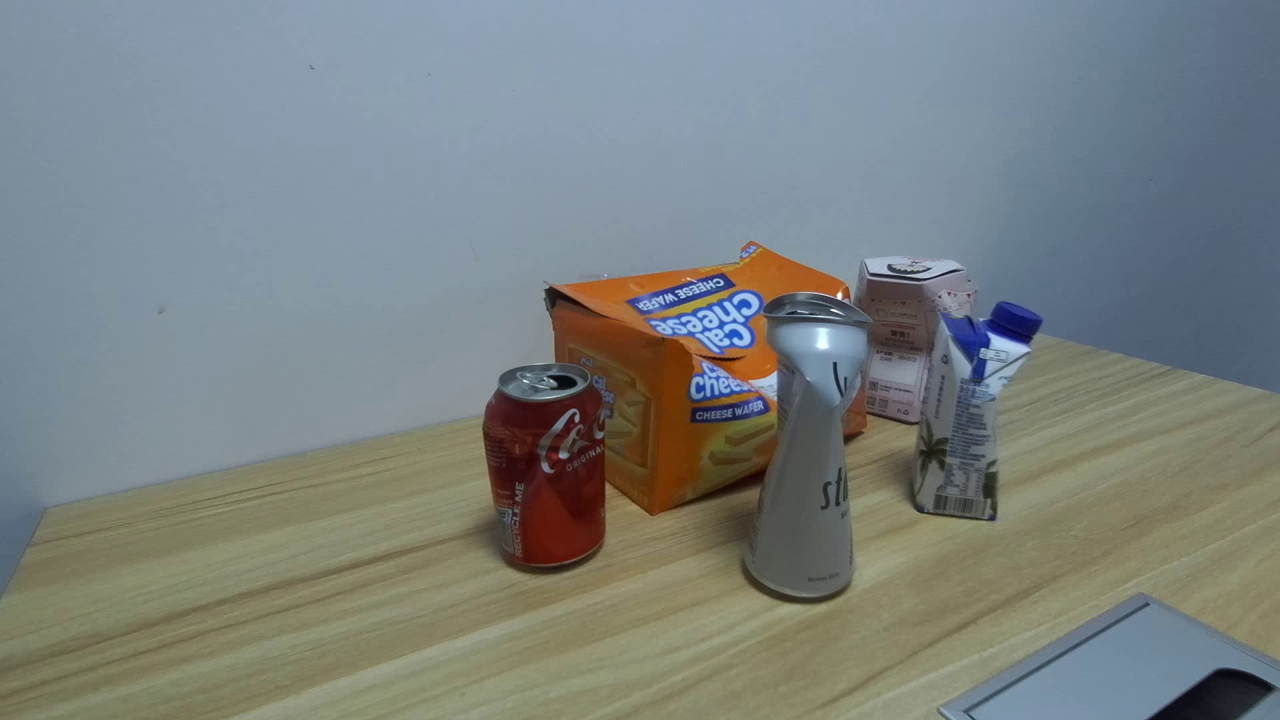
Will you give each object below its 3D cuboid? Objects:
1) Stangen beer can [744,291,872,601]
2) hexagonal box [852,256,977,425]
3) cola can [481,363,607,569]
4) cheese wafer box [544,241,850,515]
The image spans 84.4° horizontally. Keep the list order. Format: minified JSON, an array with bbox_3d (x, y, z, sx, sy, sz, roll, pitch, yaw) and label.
[{"bbox_3d":[0.092,0.049,0.389,0.066,0.162,0.076,-13,23,-33],"label":"Stangen beer can"},{"bbox_3d":[0.235,-0.017,0.616,0.090,0.134,0.091,-7,21,-9],"label":"hexagonal box"},{"bbox_3d":[-0.056,0.064,0.430,0.066,0.117,0.066,4,19,18],"label":"cola can"},{"bbox_3d":[0.065,0.002,0.555,0.220,0.145,0.190,-14,22,-31],"label":"cheese wafer box"}]
